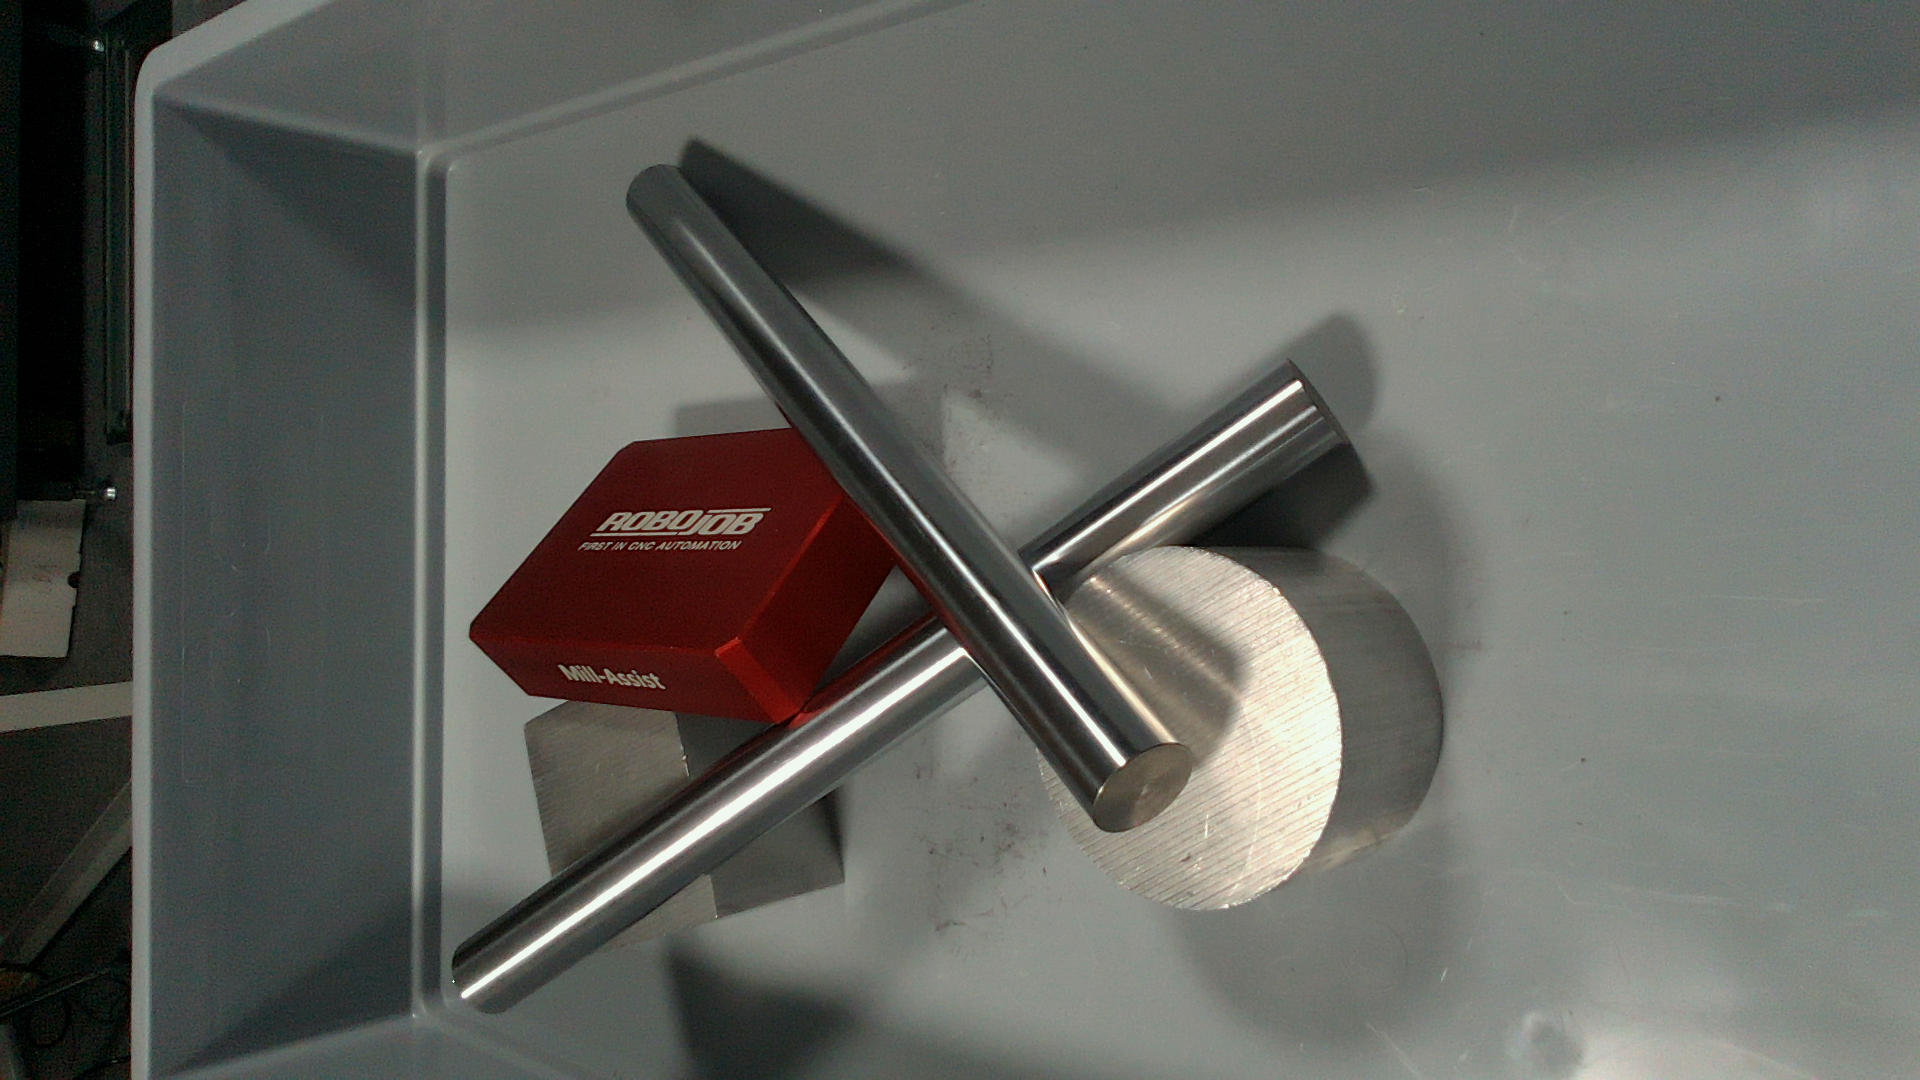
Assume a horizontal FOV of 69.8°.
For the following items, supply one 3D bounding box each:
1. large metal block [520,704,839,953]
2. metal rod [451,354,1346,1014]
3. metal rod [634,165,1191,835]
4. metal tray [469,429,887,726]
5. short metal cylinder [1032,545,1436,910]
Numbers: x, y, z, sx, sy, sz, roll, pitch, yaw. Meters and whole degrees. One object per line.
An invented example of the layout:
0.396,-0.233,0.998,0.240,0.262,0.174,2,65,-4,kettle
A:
-0.094,0.087,0.452,0.080,0.050,0.080,-25,74,37,large metal block
-0.031,0.050,0.371,0.299,0.025,0.025,-36,67,19,metal rod
-0.033,-0.034,0.383,0.299,0.025,0.025,51,121,42,metal rod
-0.082,0.008,0.423,0.129,0.030,0.090,0,46,41,metal tray
0.063,0.041,0.323,0.080,0.050,0.080,0,90,40,short metal cylinder
